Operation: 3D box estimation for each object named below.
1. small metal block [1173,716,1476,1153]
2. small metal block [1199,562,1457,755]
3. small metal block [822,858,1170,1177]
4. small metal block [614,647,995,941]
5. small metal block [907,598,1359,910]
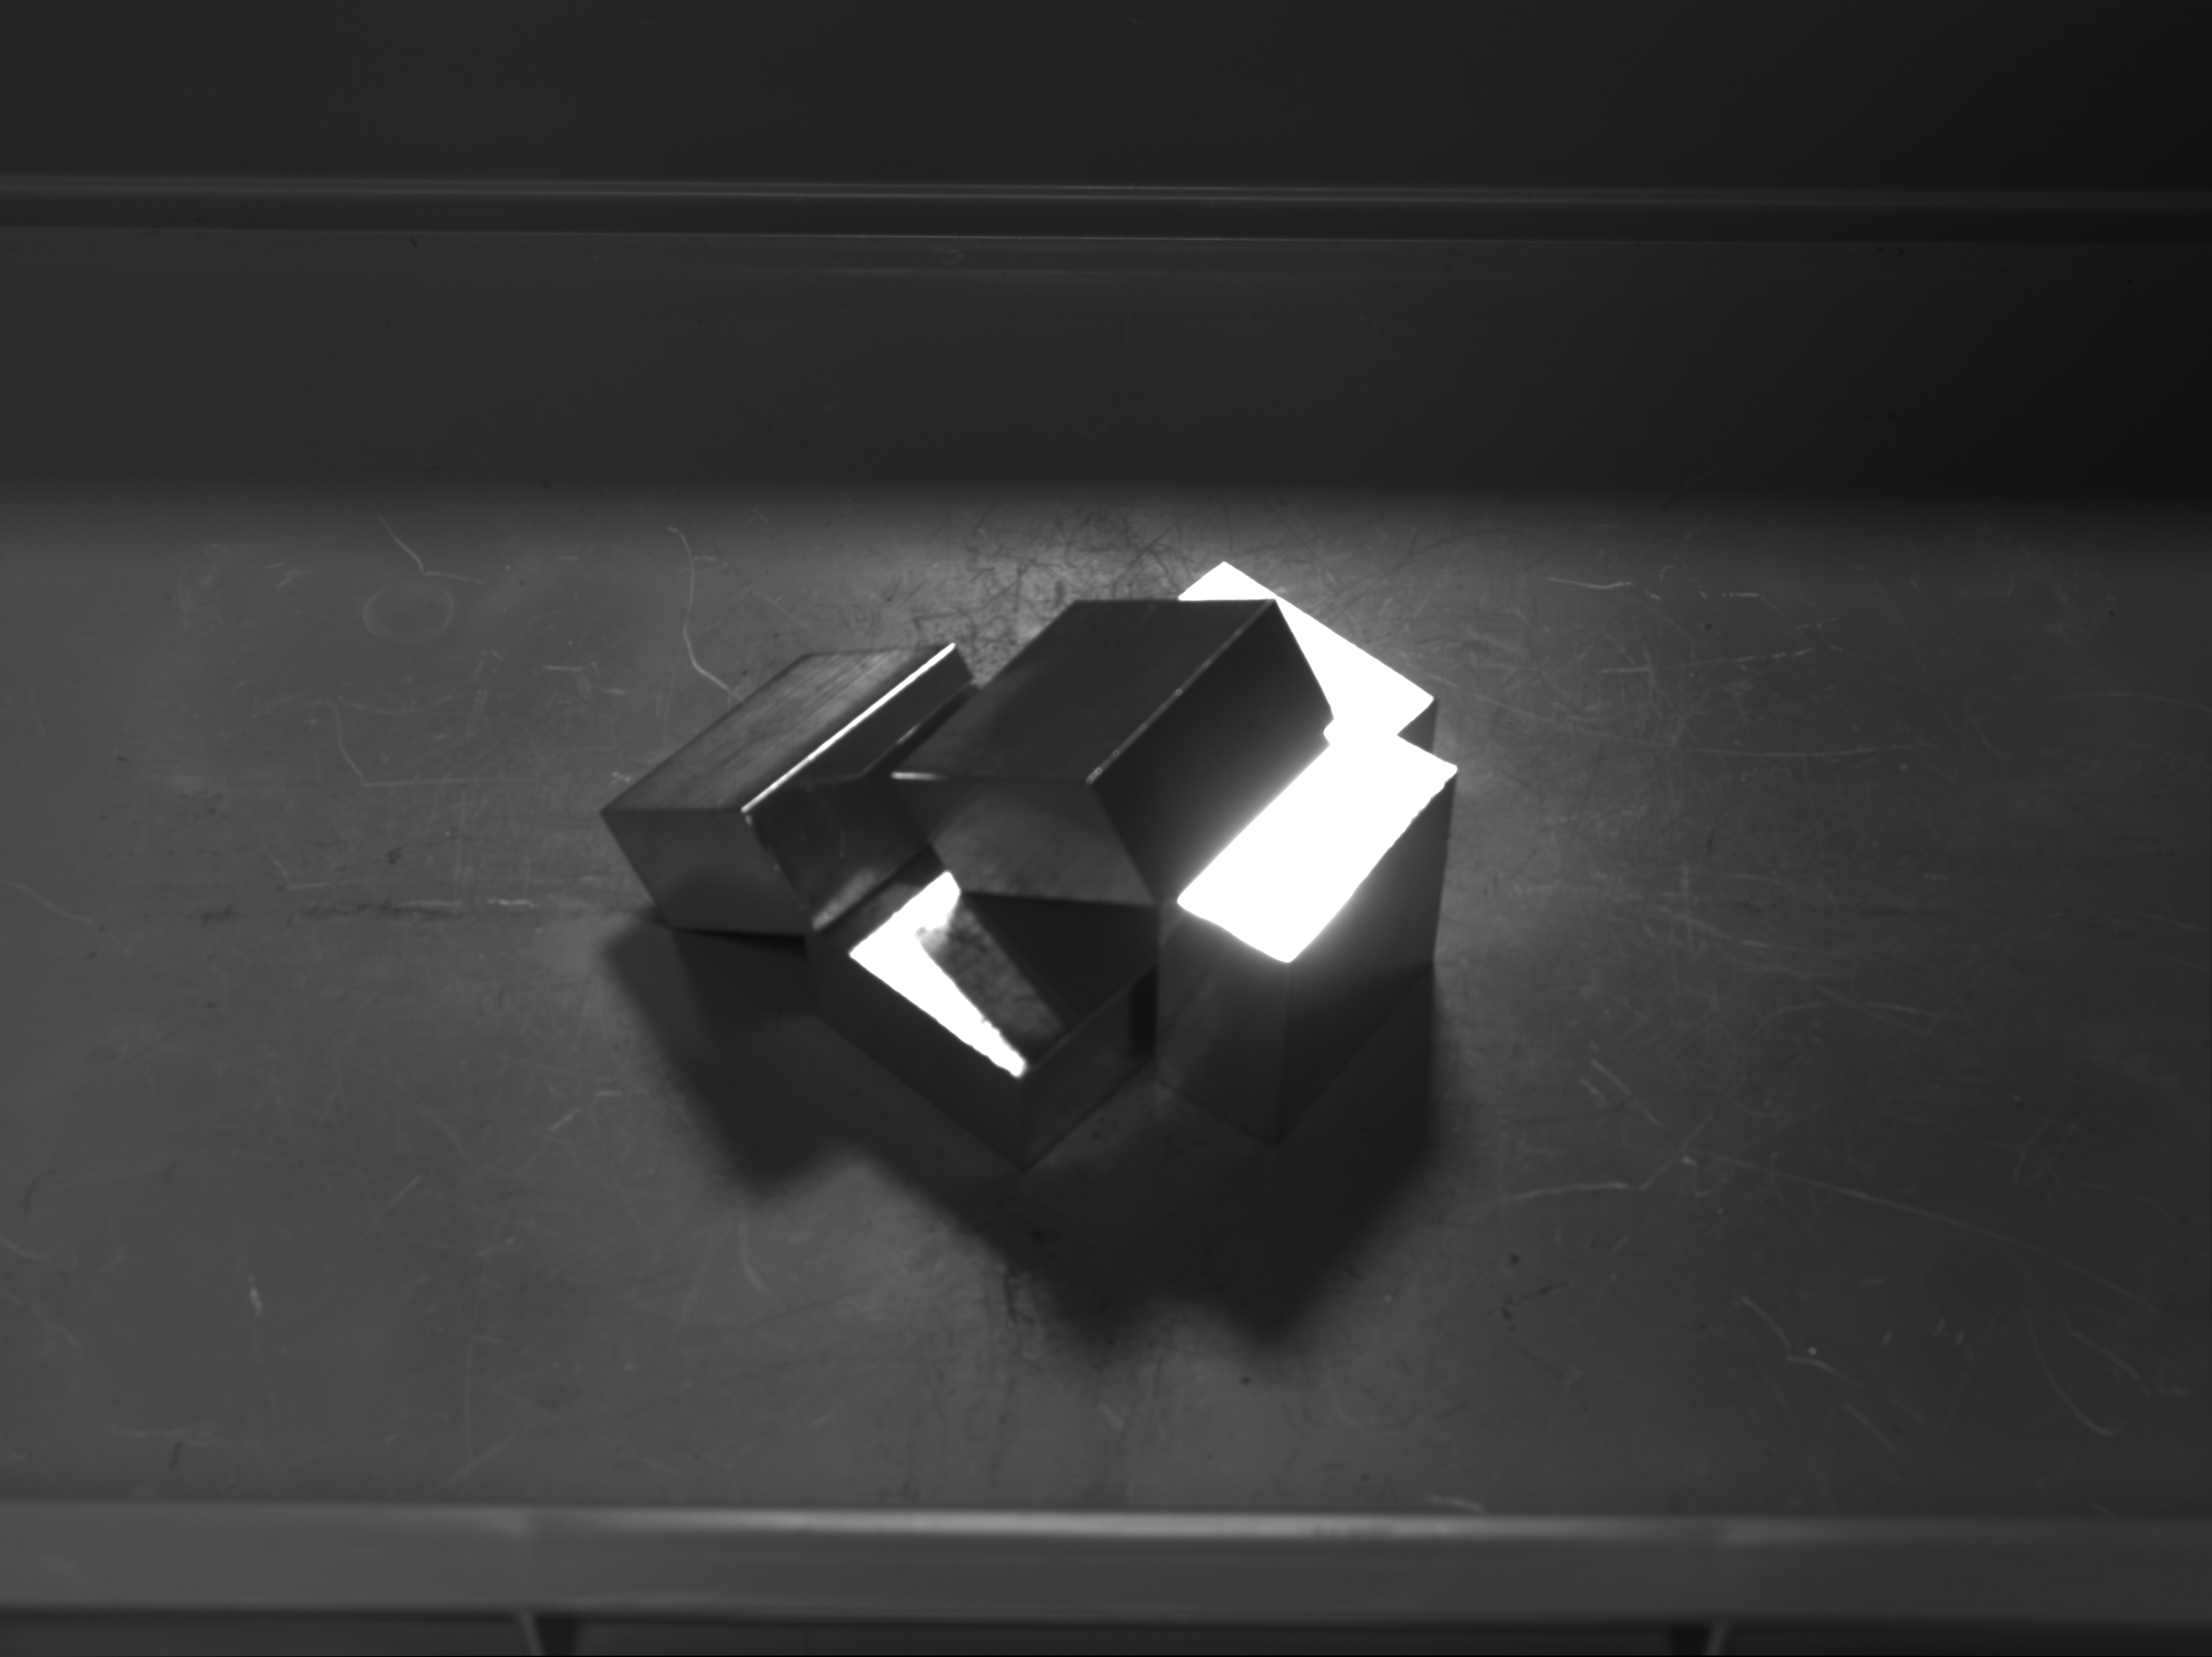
[{"bbox_3d":[0.036,0.017,0.610,0.025,0.050,0.050,28,55,22],"label":"small metal block"},{"bbox_3d":[0.026,-0.013,0.652,0.050,0.025,0.050,35,58,26],"label":"small metal block"},{"bbox_3d":[-0.012,0.023,0.621,0.050,0.025,0.050,35,58,26],"label":"small metal block"},{"bbox_3d":[-0.048,-0.006,0.630,0.050,0.025,0.050,-40,22,-28],"label":"small metal block"},{"bbox_3d":[0.004,-0.013,0.603,0.050,0.025,0.050,2,39,49],"label":"small metal block"}]
